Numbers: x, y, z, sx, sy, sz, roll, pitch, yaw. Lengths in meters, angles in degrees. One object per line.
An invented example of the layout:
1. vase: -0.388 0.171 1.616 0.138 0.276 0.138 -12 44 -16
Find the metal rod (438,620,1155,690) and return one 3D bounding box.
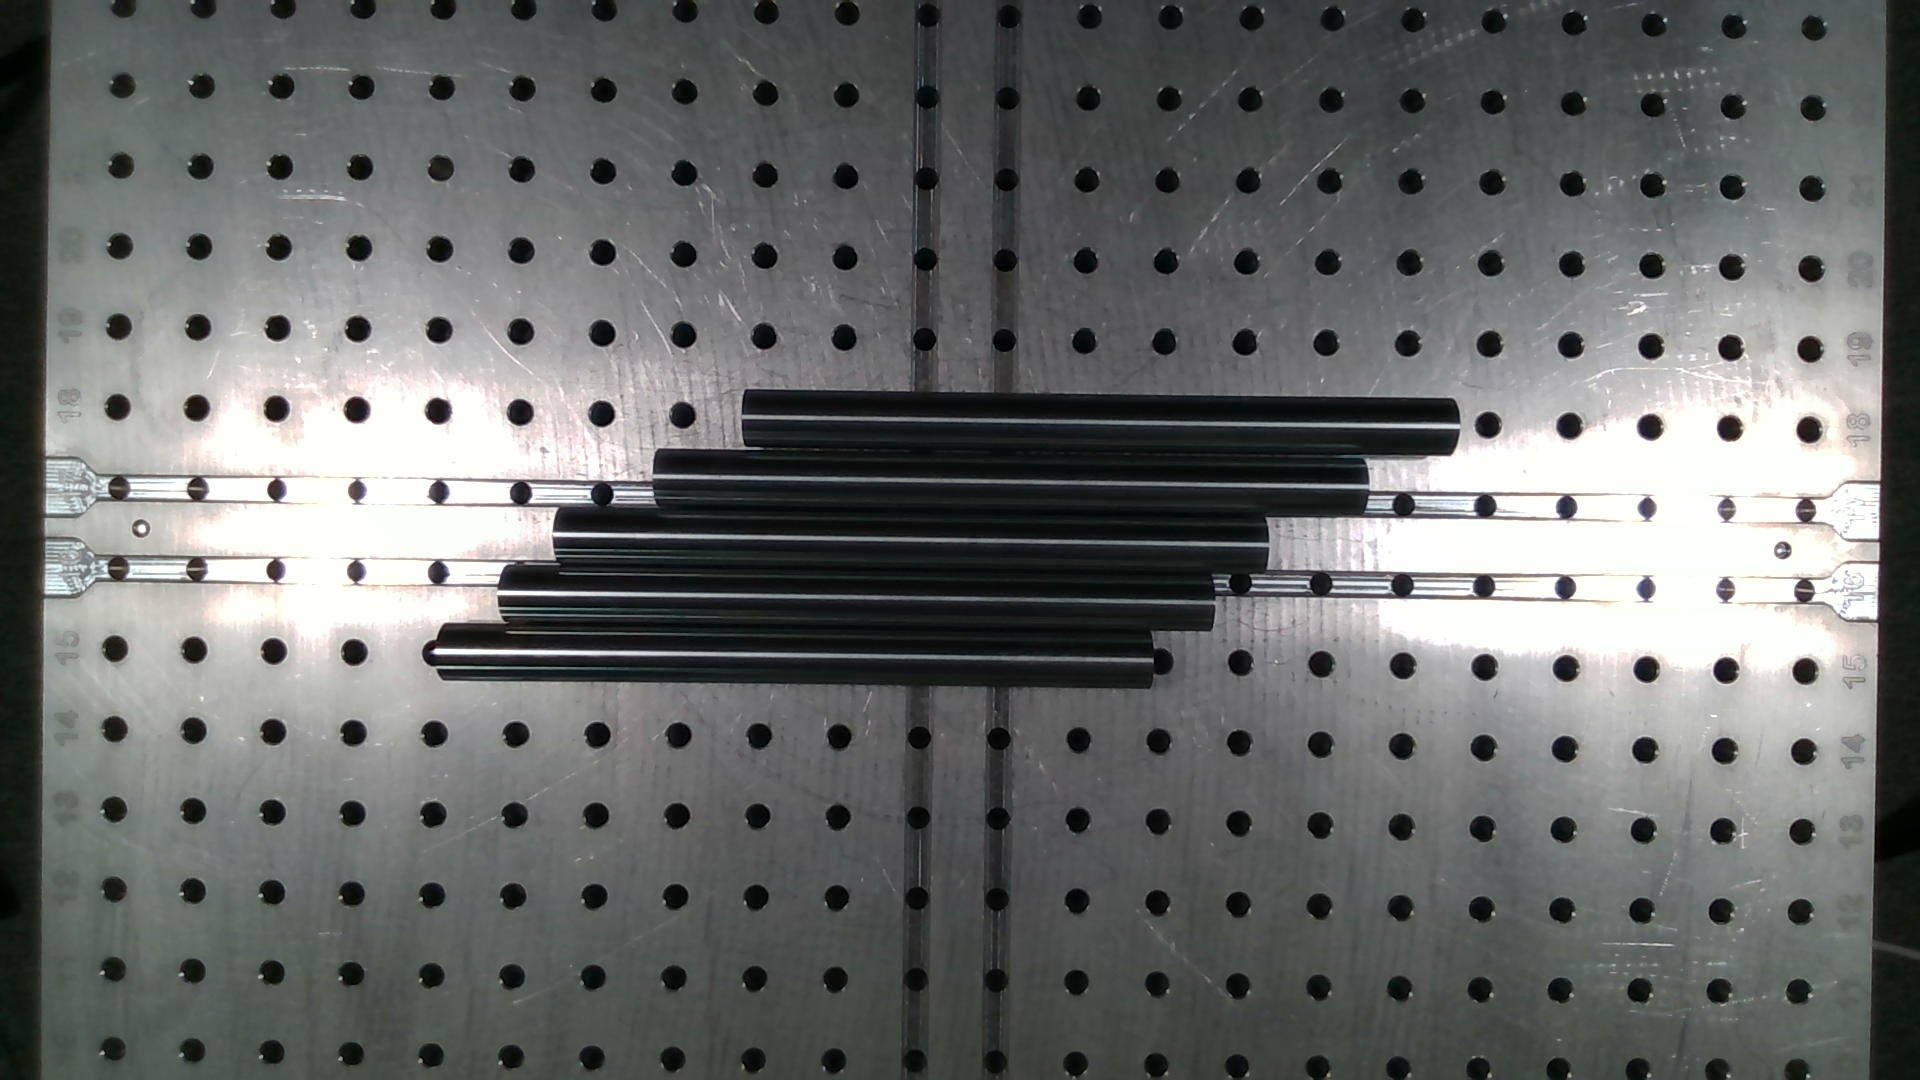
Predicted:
1. metal rod: -0.068 0.049 0.589 0.300 0.025 0.025 1 90 0

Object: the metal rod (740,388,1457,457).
1. metal rod: 0.058 -0.050 0.589 0.300 0.025 0.025 1 90 0

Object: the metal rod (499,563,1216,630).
1. metal rod: -0.043 0.024 0.589 0.300 0.025 0.025 1 90 0

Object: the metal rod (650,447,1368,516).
1. metal rod: 0.021 -0.025 0.588 0.300 0.025 0.025 1 90 0

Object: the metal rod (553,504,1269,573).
1. metal rod: -0.020 0.000 0.589 0.300 0.025 0.025 1 90 0
